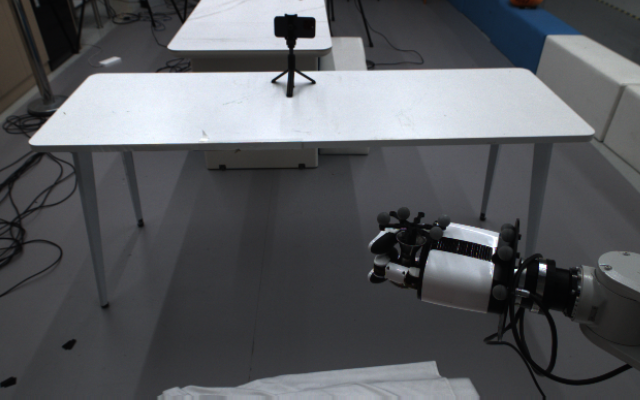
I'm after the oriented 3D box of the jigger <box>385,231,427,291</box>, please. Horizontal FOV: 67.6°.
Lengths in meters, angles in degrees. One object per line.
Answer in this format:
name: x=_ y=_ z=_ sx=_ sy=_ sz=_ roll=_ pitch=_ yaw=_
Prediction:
jigger: x=0.123 y=0.080 z=0.664 sx=0.043 sy=0.071 sz=0.043 roll=3 pitch=25 yaw=-1
